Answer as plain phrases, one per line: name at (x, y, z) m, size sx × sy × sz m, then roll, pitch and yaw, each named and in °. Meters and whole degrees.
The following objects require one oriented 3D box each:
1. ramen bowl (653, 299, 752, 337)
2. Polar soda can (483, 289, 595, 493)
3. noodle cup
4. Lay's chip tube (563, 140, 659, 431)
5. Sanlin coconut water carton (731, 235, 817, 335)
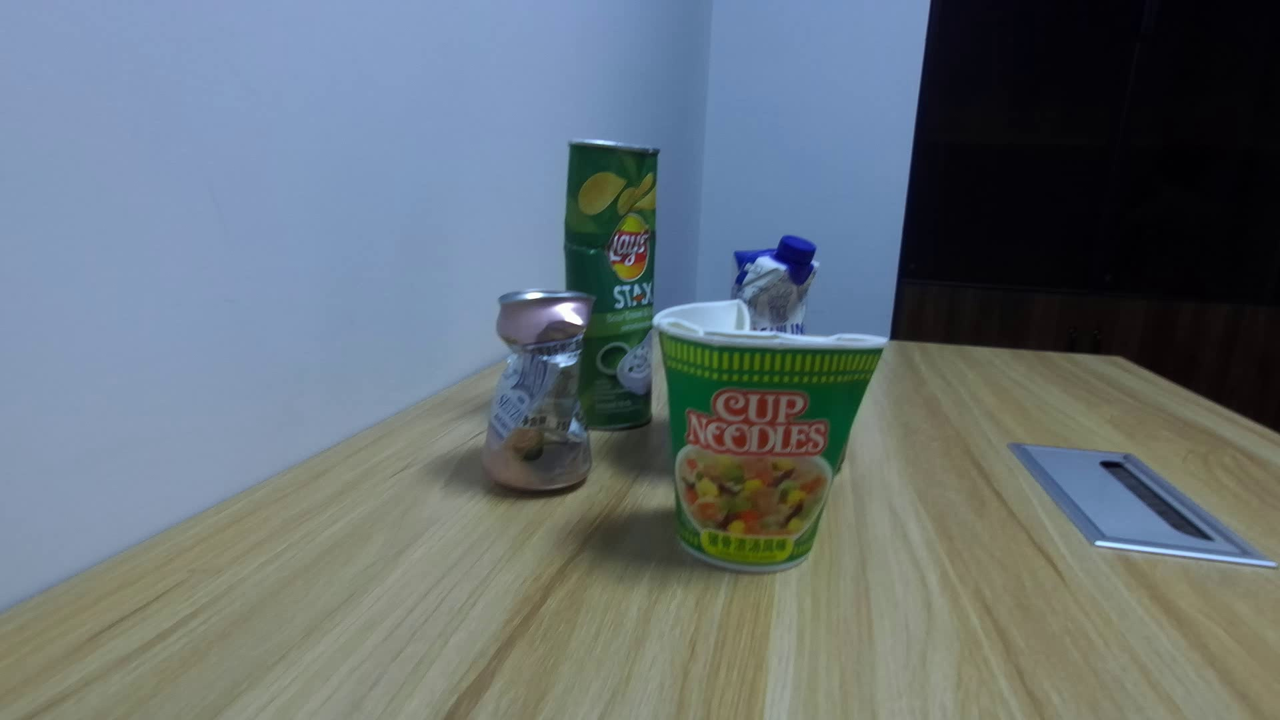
ramen bowl at (0.068, 0.021, 0.473) m, size 0.137 × 0.098 × 0.137 m, roll 6°, pitch 13°, yaw -1°
Polar soda can at (-0.058, 0.016, 0.416) m, size 0.074 × 0.114 × 0.070 m, roll 11°, pitch 9°, yaw 24°
noodle cup at (0.053, 0.038, 0.344) m, size 0.075 × 0.122 × 0.082 m, roll -16°, pitch 29°, yaw -40°
Lay's chip tube at (-0.019, -0.052, 0.512) m, size 0.069 × 0.199 × 0.075 m, roll 0°, pitch 7°, yaw -3°
Sanlin coconut water carton at (0.105, -0.029, 0.567) m, size 0.078 × 0.142 × 0.057 m, roll -9°, pitch 21°, yaw -43°
